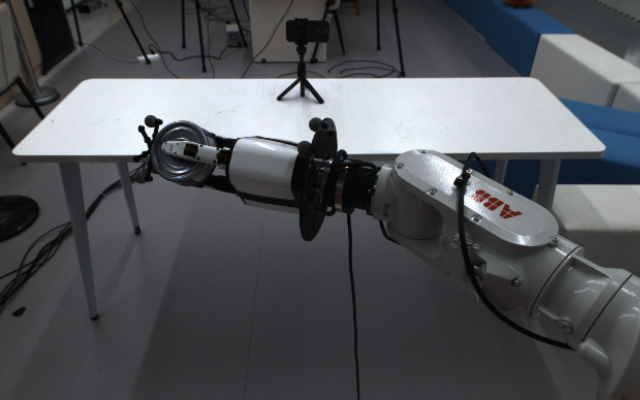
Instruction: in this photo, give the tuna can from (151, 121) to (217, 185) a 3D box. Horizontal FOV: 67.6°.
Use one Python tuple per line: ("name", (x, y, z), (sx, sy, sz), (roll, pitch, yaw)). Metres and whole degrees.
("tuna can", (-0.182, -0.060, 0.655), (0.085, 0.085, 0.034), (10, -5, 11))
